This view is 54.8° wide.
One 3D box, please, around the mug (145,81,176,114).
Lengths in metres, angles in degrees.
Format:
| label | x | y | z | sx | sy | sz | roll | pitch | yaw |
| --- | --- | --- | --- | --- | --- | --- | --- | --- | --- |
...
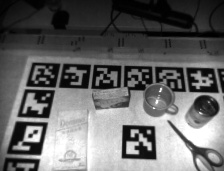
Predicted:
| label | x | y | z | sx | sy | sz | roll | pitch | yaw |
| --- | --- | --- | --- | --- | --- | --- | --- | --- | --- |
| mug | 0.156 | 0.040 | 0.680 | 0.093 | 0.082 | 0.116 | -33 | 66 | -11 |

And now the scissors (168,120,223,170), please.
| label | x | y | z | sx | sy | sz | roll | pitch | yaw |
| --- | --- | --- | --- | --- | --- | --- | --- | --- | --- |
| scissors | 0.245 | 0.177 | 0.646 | 0.088 | 0.016 | 0.201 | -41 | 71 | -7 |

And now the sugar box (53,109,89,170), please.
| label | x | y | z | sx | sy | sz | roll | pitch | yaw |
| --- | --- | --- | --- | --- | --- | --- | --- | --- | --- |
| sugar box | -0.117 | 0.160 | 0.647 | 0.093 | 0.045 | 0.175 | -2 | 65 | 2 |

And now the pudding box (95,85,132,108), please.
| label | x | y | z | sx | sy | sz | roll | pitch | yaw |
| --- | --- | --- | --- | --- | --- | --- | --- | --- | --- |
| pudding box | 0.006 | 0.035 | 0.675 | 0.114 | 0.090 | 0.038 | -8 | 70 | -3 |

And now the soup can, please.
| label | x | y | z | sx | sy | sz | roll | pitch | yaw |
| --- | --- | --- | --- | --- | --- | --- | --- | --- | --- |
| soup can | 0.270 | 0.077 | 0.657 | 0.068 | 0.102 | 0.067 | -1 | 62 | 2 |
